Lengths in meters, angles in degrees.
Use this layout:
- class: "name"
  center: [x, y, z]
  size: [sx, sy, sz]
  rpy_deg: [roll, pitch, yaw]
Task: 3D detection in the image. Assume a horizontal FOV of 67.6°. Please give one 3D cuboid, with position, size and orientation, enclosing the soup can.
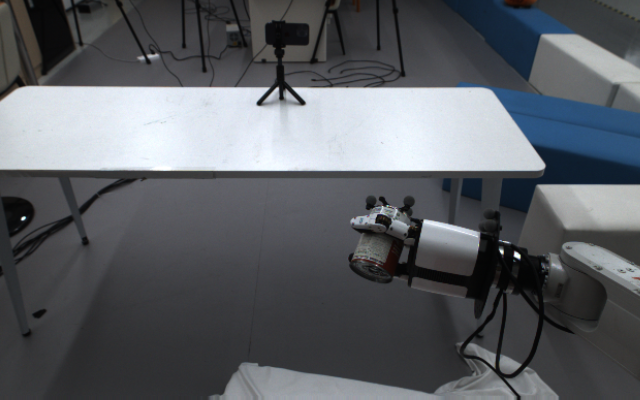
- class: "soup can"
  center: [0.094, 0.065, 0.736]
  size: [0.067, 0.067, 0.101]
  rpy_deg: [15, 62, 18]
